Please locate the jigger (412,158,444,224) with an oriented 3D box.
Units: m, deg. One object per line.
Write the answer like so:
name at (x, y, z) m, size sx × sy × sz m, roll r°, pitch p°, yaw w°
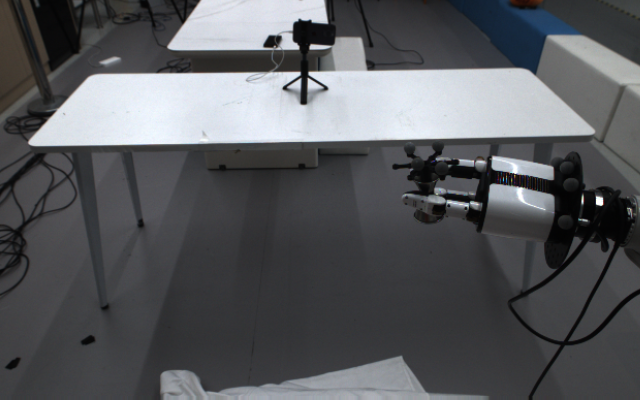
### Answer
jigger at (0.154, -0.008, 0.696) m, size 0.043 × 0.071 × 0.043 m, roll -9°, pitch 31°, yaw 5°
